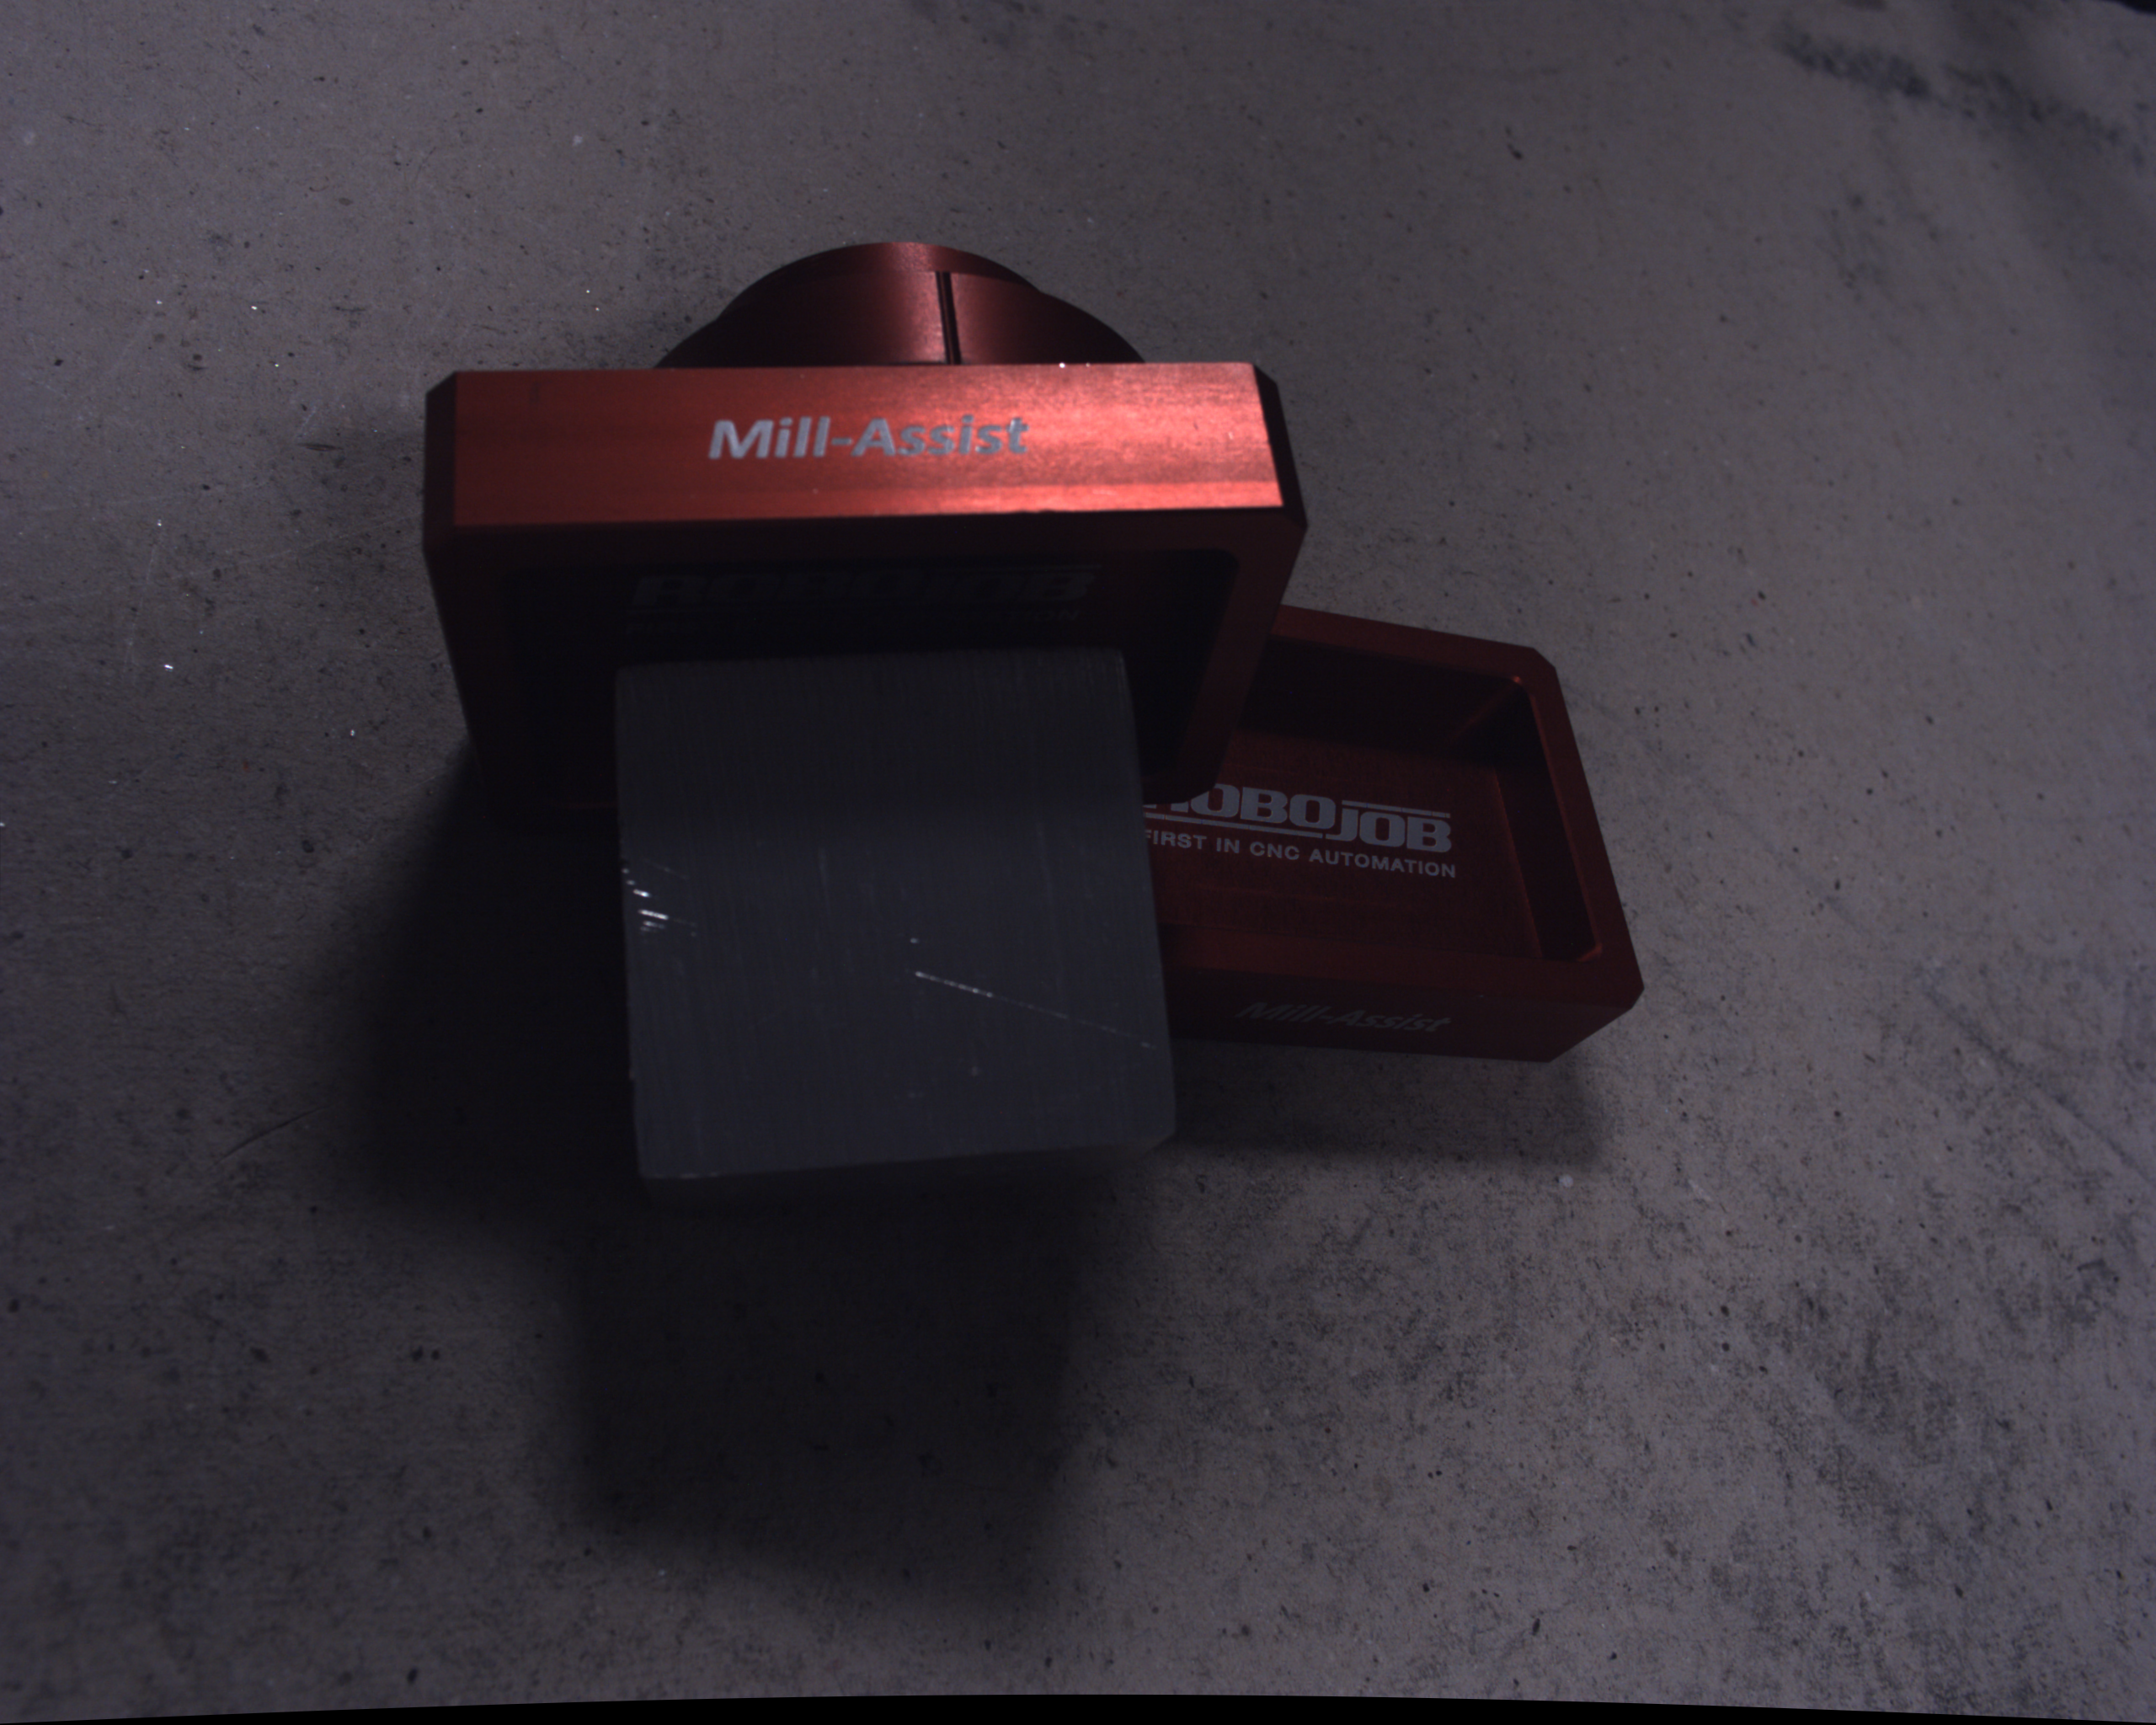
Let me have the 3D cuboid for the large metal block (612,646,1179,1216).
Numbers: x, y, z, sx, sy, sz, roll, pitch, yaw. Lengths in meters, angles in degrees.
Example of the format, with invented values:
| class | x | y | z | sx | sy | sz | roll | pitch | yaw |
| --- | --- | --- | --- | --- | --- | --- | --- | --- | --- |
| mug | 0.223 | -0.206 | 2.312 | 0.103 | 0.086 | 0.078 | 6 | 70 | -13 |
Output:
| class | x | y | z | sx | sy | sz | roll | pitch | yaw |
| --- | --- | --- | --- | --- | --- | --- | --- | --- | --- |
| large metal block | -0.032 | 0.012 | 0.342 | 0.081 | 0.050 | 0.080 | -3 | 75 | -10 |

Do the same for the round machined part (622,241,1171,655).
| class | x | y | z | sx | sy | sz | roll | pitch | yaw |
| --- | --- | --- | --- | --- | --- | --- | --- | --- | --- |
| round machined part | -0.032 | -0.071 | 0.372 | 0.099 | 0.097 | 0.042 | 6 | 59 | -26 |

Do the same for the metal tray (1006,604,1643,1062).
| class | x | y | z | sx | sy | sz | roll | pitch | yaw |
| --- | --- | --- | --- | --- | --- | --- | --- | --- | --- |
| metal tray | 0.048 | -0.008 | 0.435 | 0.131 | 0.030 | 0.090 | 6 | 59 | -25 |

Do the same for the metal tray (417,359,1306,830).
| class | x | y | z | sx | sy | sz | roll | pitch | yaw |
| --- | --- | --- | --- | --- | --- | --- | --- | --- | --- |
| metal tray | -0.036 | -0.042 | 0.349 | 0.131 | 0.090 | 0.030 | -3 | 63 | -9 |

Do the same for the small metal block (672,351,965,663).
| class | x | y | z | sx | sy | sz | roll | pitch | yaw |
| --- | --- | --- | --- | --- | --- | --- | --- | --- | --- |
| small metal block | -0.053 | -0.071 | 0.422 | 0.050 | 0.025 | 0.050 | 6 | 59 | -25 |
